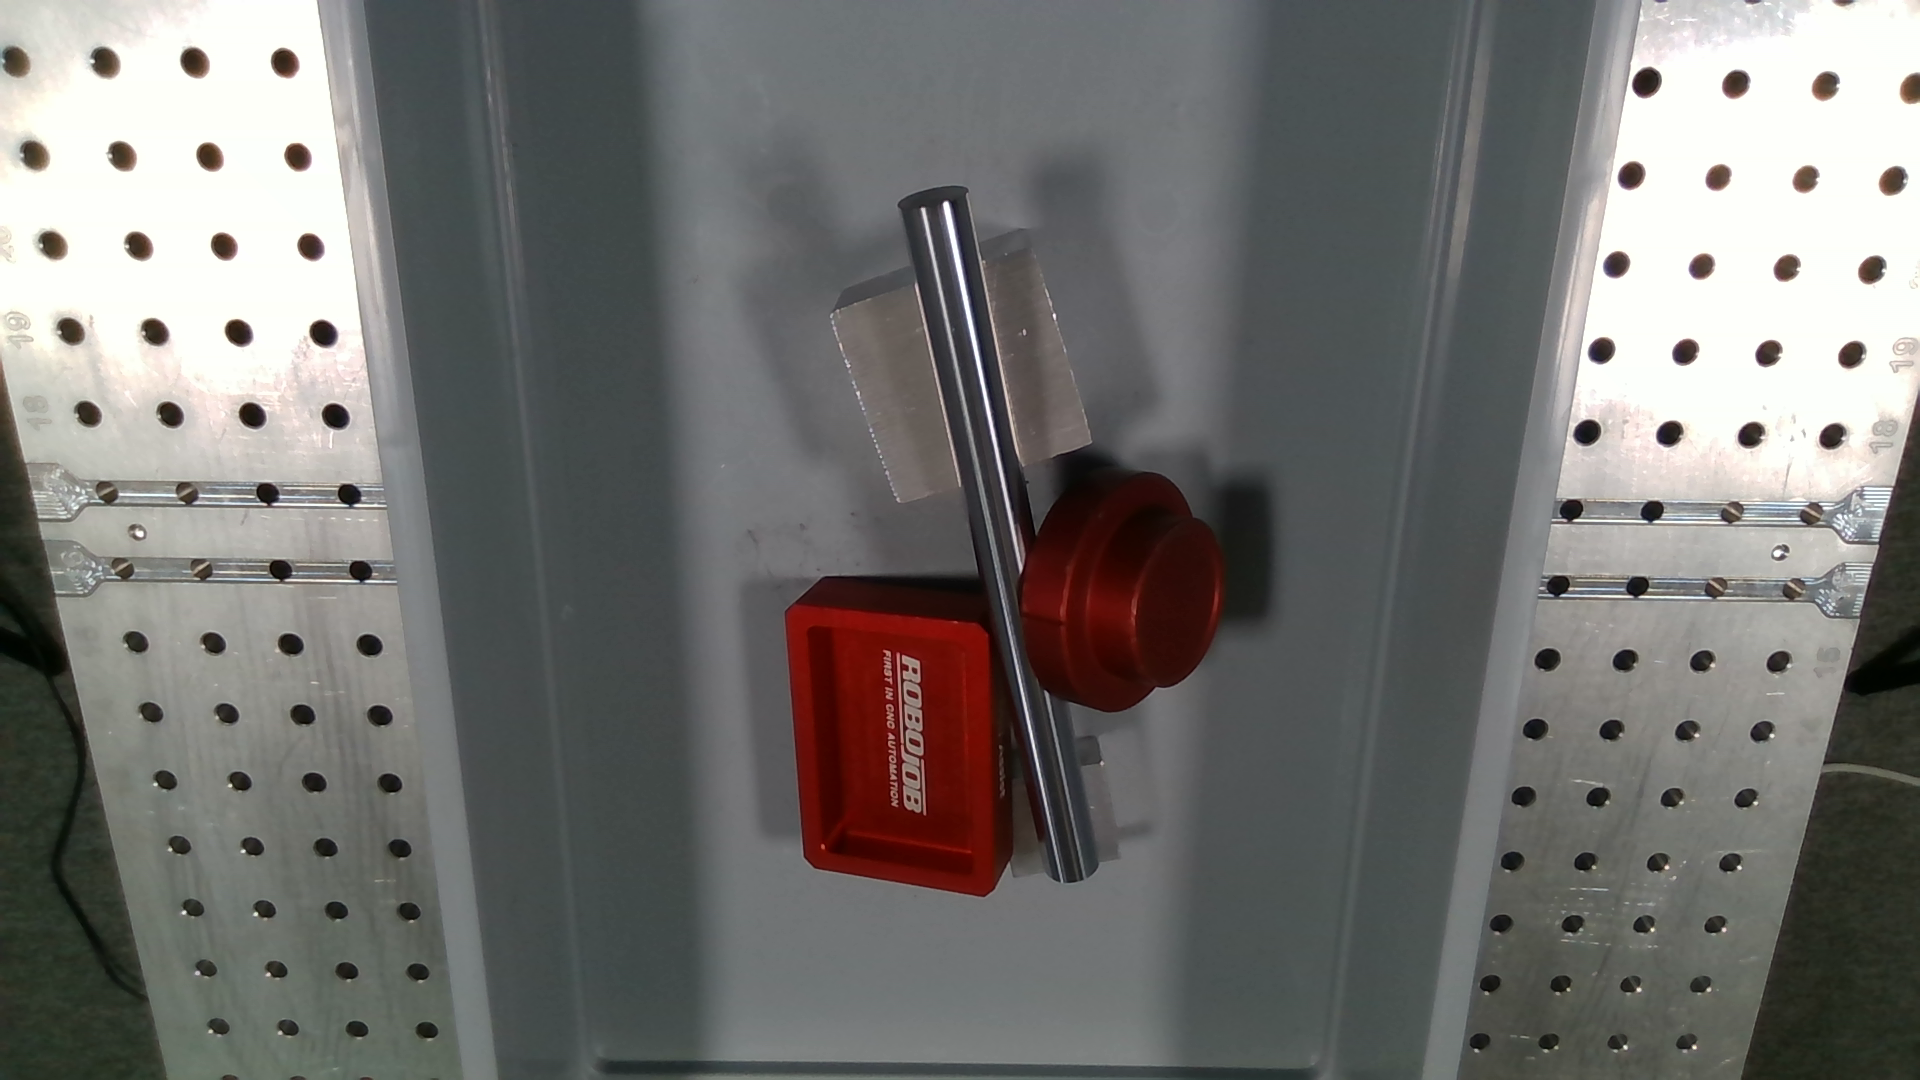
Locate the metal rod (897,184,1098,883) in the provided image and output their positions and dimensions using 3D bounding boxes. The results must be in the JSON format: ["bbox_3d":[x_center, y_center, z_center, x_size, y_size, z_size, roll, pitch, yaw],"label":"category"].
[{"bbox_3d":[0.020,0.012,0.540,0.025,0.025,0.301,-11,117,4],"label":"metal rod"}]

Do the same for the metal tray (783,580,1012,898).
[{"bbox_3d":[-0.026,0.086,0.598,0.090,0.030,0.130,5,112,19],"label":"metal tray"}]

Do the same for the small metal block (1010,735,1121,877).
[{"bbox_3d":[0.043,0.121,0.628,0.050,0.025,0.050,-11,110,4],"label":"small metal block"}]

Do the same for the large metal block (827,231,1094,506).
[{"bbox_3d":[0.001,-0.069,0.544,0.080,0.050,0.080,-17,109,6],"label":"large metal block"}]

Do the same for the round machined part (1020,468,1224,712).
[{"bbox_3d":[0.070,0.021,0.550,0.042,0.098,0.098,12,116,39],"label":"round machined part"}]
